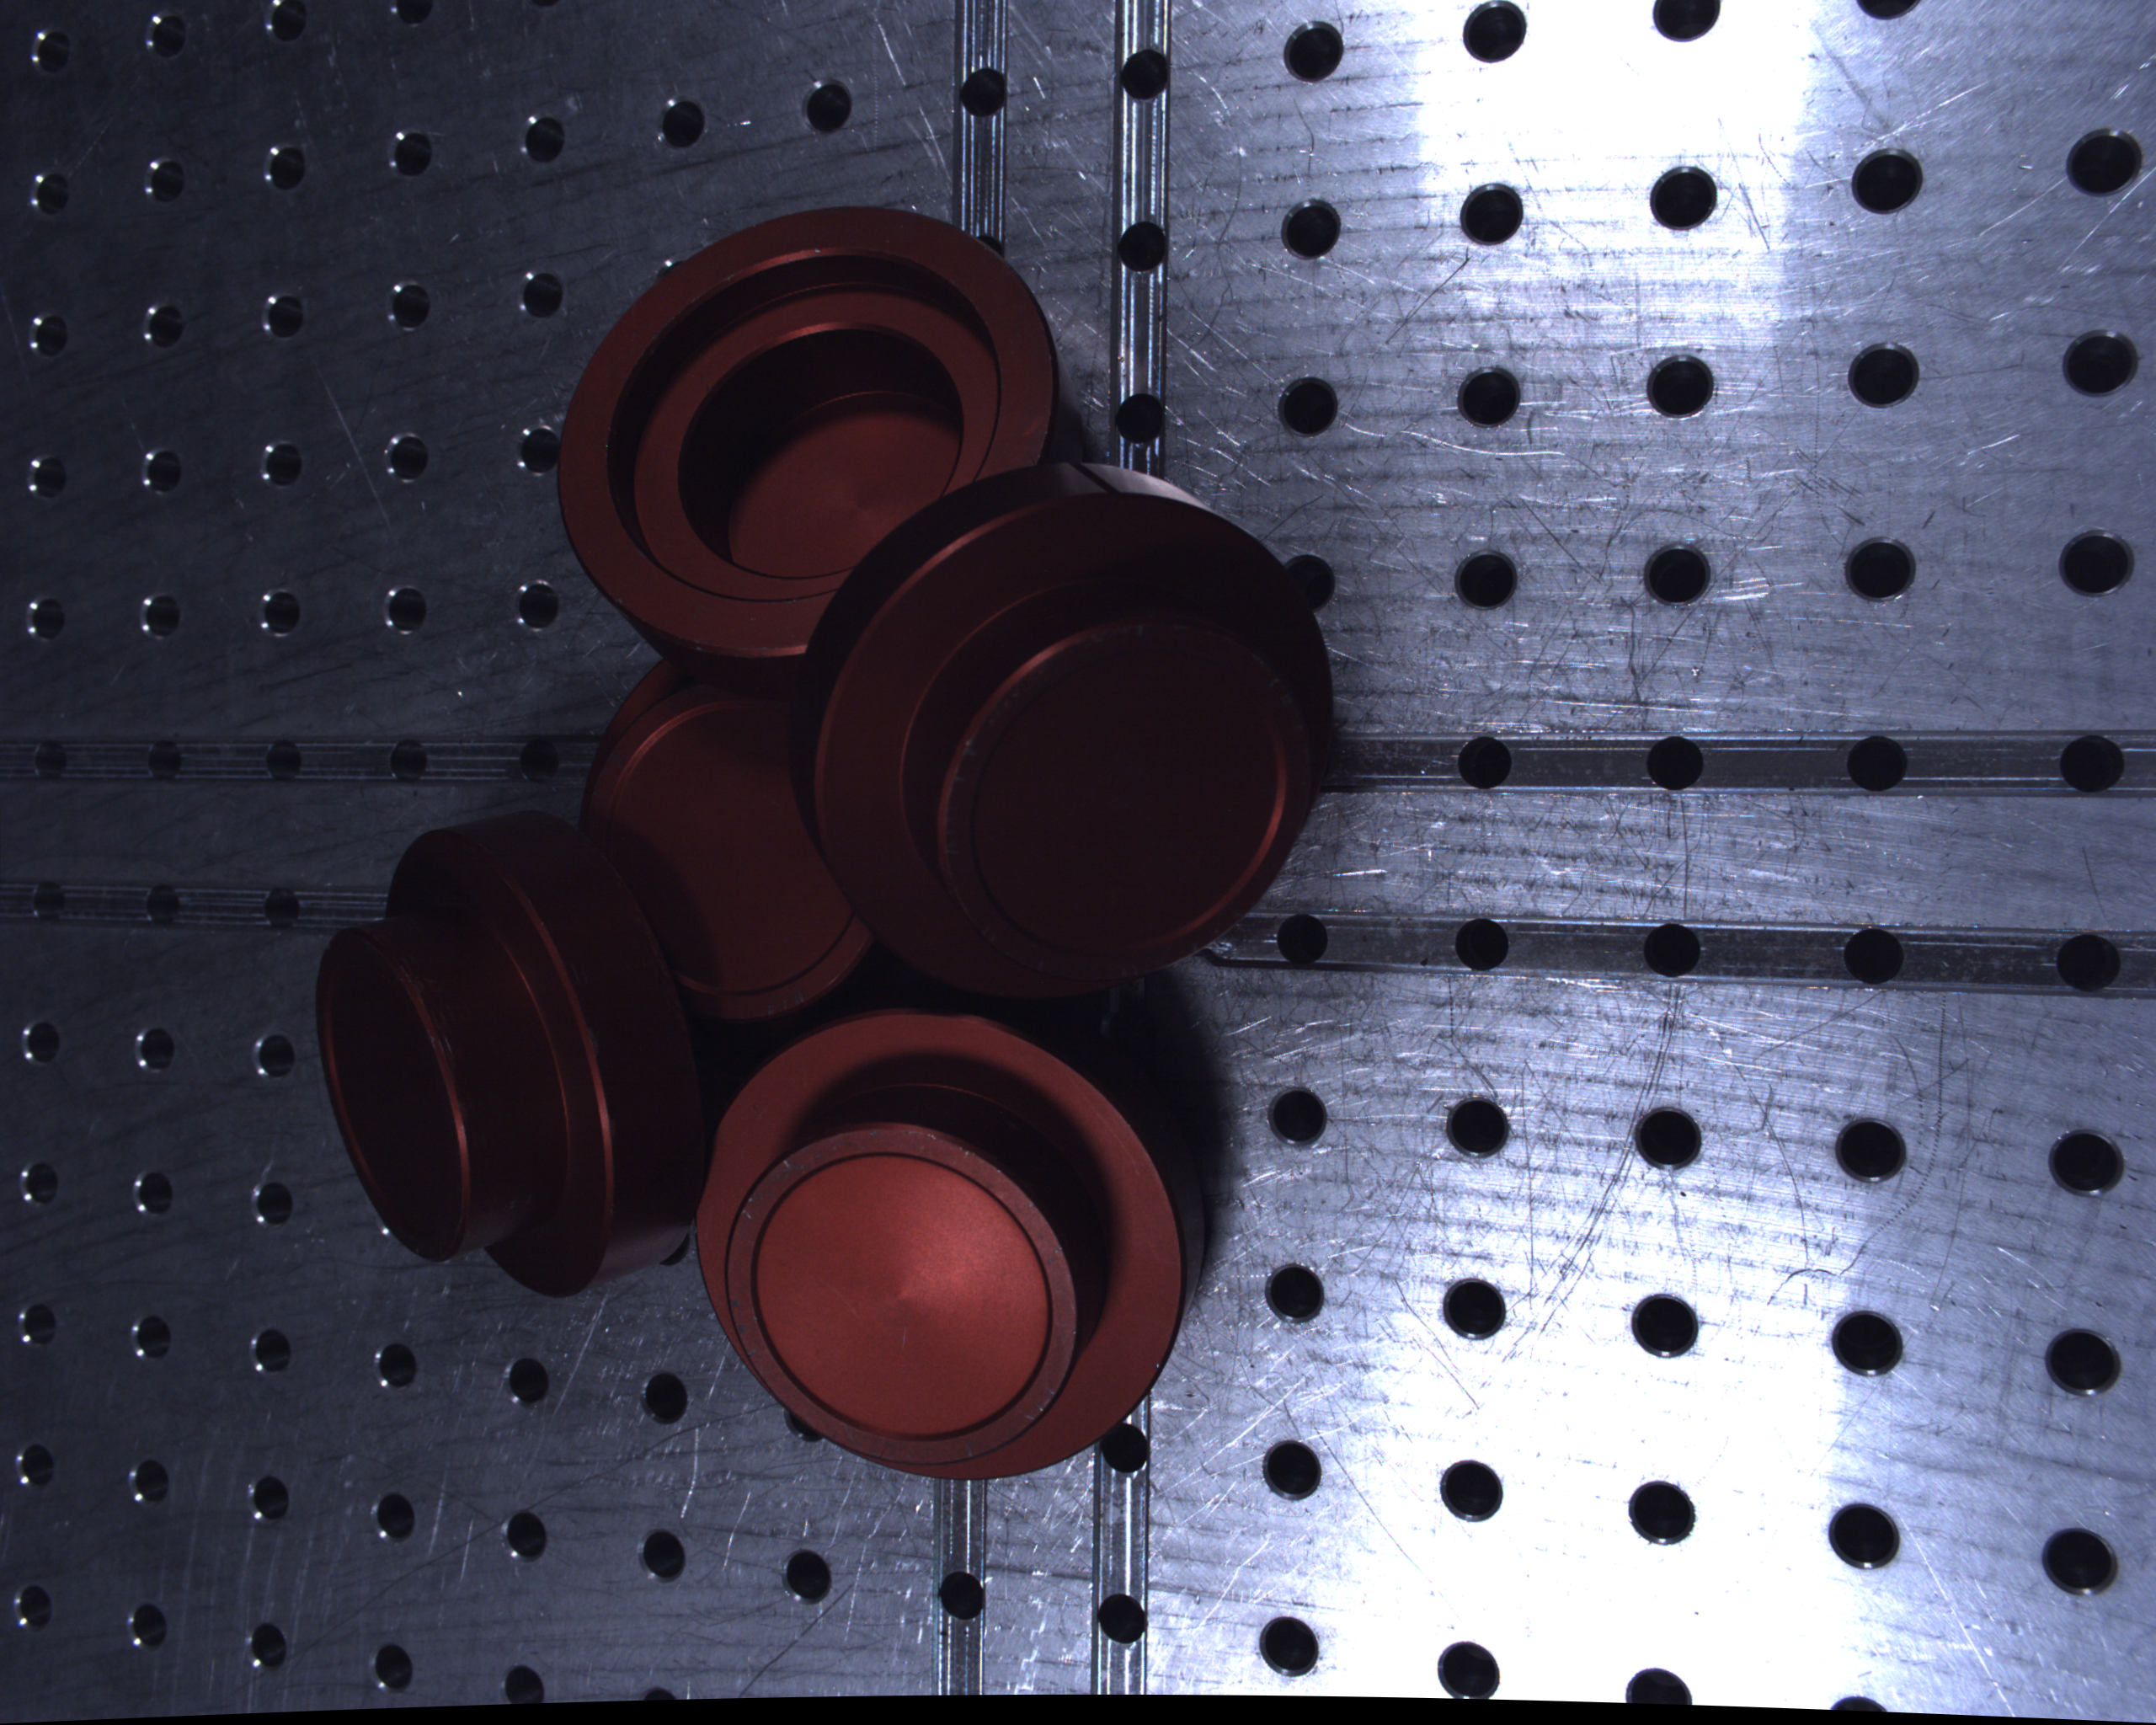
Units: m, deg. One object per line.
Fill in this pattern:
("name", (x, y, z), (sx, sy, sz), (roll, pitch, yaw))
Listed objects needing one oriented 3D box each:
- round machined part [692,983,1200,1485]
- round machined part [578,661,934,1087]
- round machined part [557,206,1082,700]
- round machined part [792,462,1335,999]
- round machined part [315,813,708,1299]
("round machined part", (-0.028, 0.075, 0.399), (0.098, 0.042, 0.097), (3, 102, 13))
("round machined part", (-0.061, -0.003, 0.423), (0.098, 0.042, 0.097), (0, 90, 19))
("round machined part", (-0.047, -0.075, 0.407), (0.098, 0.042, 0.098), (-5, 68, 12))
("round machined part", (0.002, -0.018, 0.371), (0.098, 0.099, 0.042), (-58, 33, 11))
("round machined part", (-0.119, 0.041, 0.419), (0.098, 0.042, 0.097), (20, 117, 45))
